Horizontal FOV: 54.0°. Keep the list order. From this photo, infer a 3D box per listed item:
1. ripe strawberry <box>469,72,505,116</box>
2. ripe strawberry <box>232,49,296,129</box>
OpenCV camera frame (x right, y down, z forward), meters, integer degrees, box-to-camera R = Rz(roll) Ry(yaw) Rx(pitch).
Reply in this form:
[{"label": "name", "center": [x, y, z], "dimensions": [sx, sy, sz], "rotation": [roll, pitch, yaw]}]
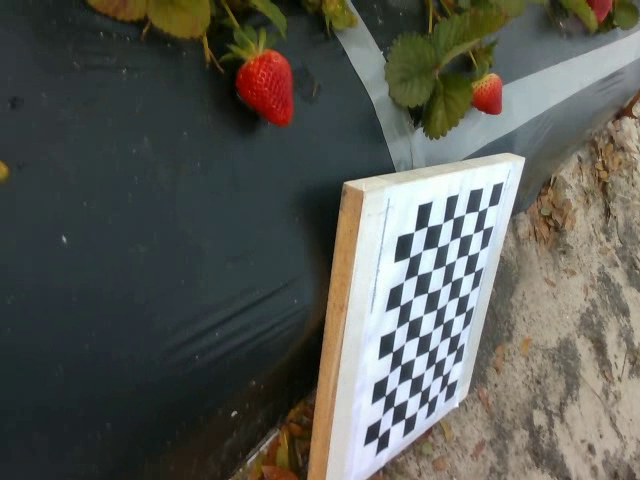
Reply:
[{"label": "ripe strawberry", "center": [0.152, -0.139, 0.591], "dimensions": [0.039, 0.047, 0.041], "rotation": [-41, 40, -16]}, {"label": "ripe strawberry", "center": [-0.027, -0.086, 0.345], "dimensions": [0.036, 0.046, 0.040], "rotation": [-24, -8, -30]}]
